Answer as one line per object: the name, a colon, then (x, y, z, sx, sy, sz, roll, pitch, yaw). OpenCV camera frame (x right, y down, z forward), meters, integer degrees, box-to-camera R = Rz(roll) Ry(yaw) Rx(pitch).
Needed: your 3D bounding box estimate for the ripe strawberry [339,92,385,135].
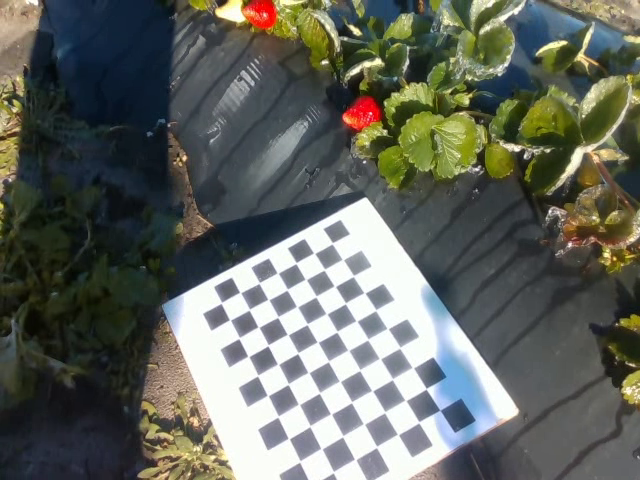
ripe strawberry: (0.040, -0.126, 0.579, 0.052, 0.047, 0.042, -13, 54, -44)

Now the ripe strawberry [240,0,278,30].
ripe strawberry: (-0.072, -0.264, 0.664, 0.037, 0.040, 0.051, 42, 27, 24)
